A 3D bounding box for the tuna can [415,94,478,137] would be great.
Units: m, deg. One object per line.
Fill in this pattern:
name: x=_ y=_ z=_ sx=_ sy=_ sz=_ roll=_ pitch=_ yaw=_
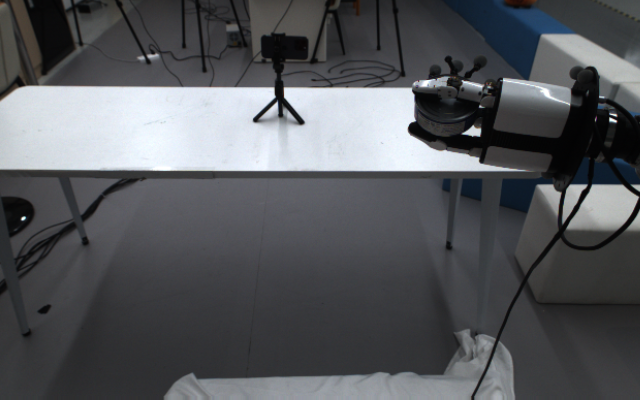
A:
tuna can: x=0.171 y=-0.131 z=0.654 sx=0.085 sy=0.034 sz=0.085 roll=-4 pitch=56 yaw=6
